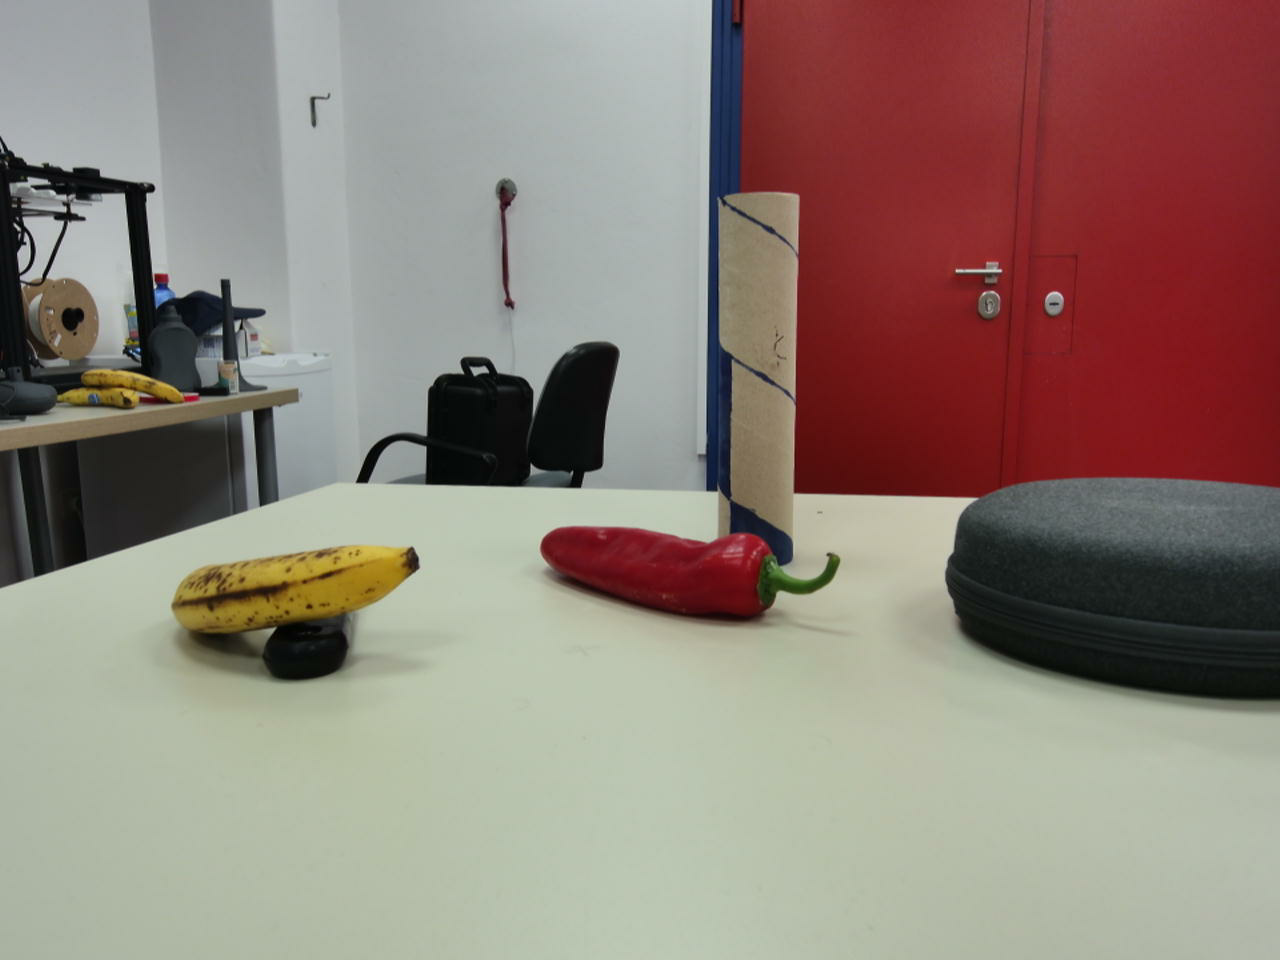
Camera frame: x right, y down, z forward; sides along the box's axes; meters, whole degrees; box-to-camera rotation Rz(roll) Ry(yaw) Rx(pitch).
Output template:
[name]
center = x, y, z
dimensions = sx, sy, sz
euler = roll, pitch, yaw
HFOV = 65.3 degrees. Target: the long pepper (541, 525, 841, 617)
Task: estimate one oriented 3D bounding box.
[long pepper]
center = 0.012, 0.045, 0.545
dimensions = 0.211, 0.043, 0.050
euler = 6, 9, 43
